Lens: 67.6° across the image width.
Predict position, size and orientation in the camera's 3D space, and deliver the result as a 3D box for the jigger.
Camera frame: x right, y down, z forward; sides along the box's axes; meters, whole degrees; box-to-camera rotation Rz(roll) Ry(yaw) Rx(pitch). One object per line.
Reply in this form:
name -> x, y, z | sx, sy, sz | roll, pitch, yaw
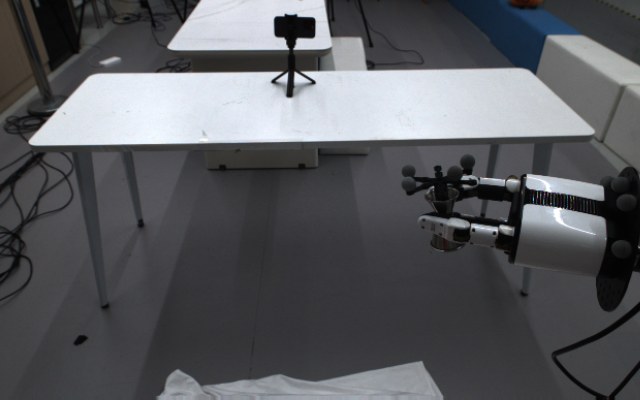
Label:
jigger -> 0.152, 0.022, 0.591 | 0.043, 0.071, 0.043 | -12, 24, 5
